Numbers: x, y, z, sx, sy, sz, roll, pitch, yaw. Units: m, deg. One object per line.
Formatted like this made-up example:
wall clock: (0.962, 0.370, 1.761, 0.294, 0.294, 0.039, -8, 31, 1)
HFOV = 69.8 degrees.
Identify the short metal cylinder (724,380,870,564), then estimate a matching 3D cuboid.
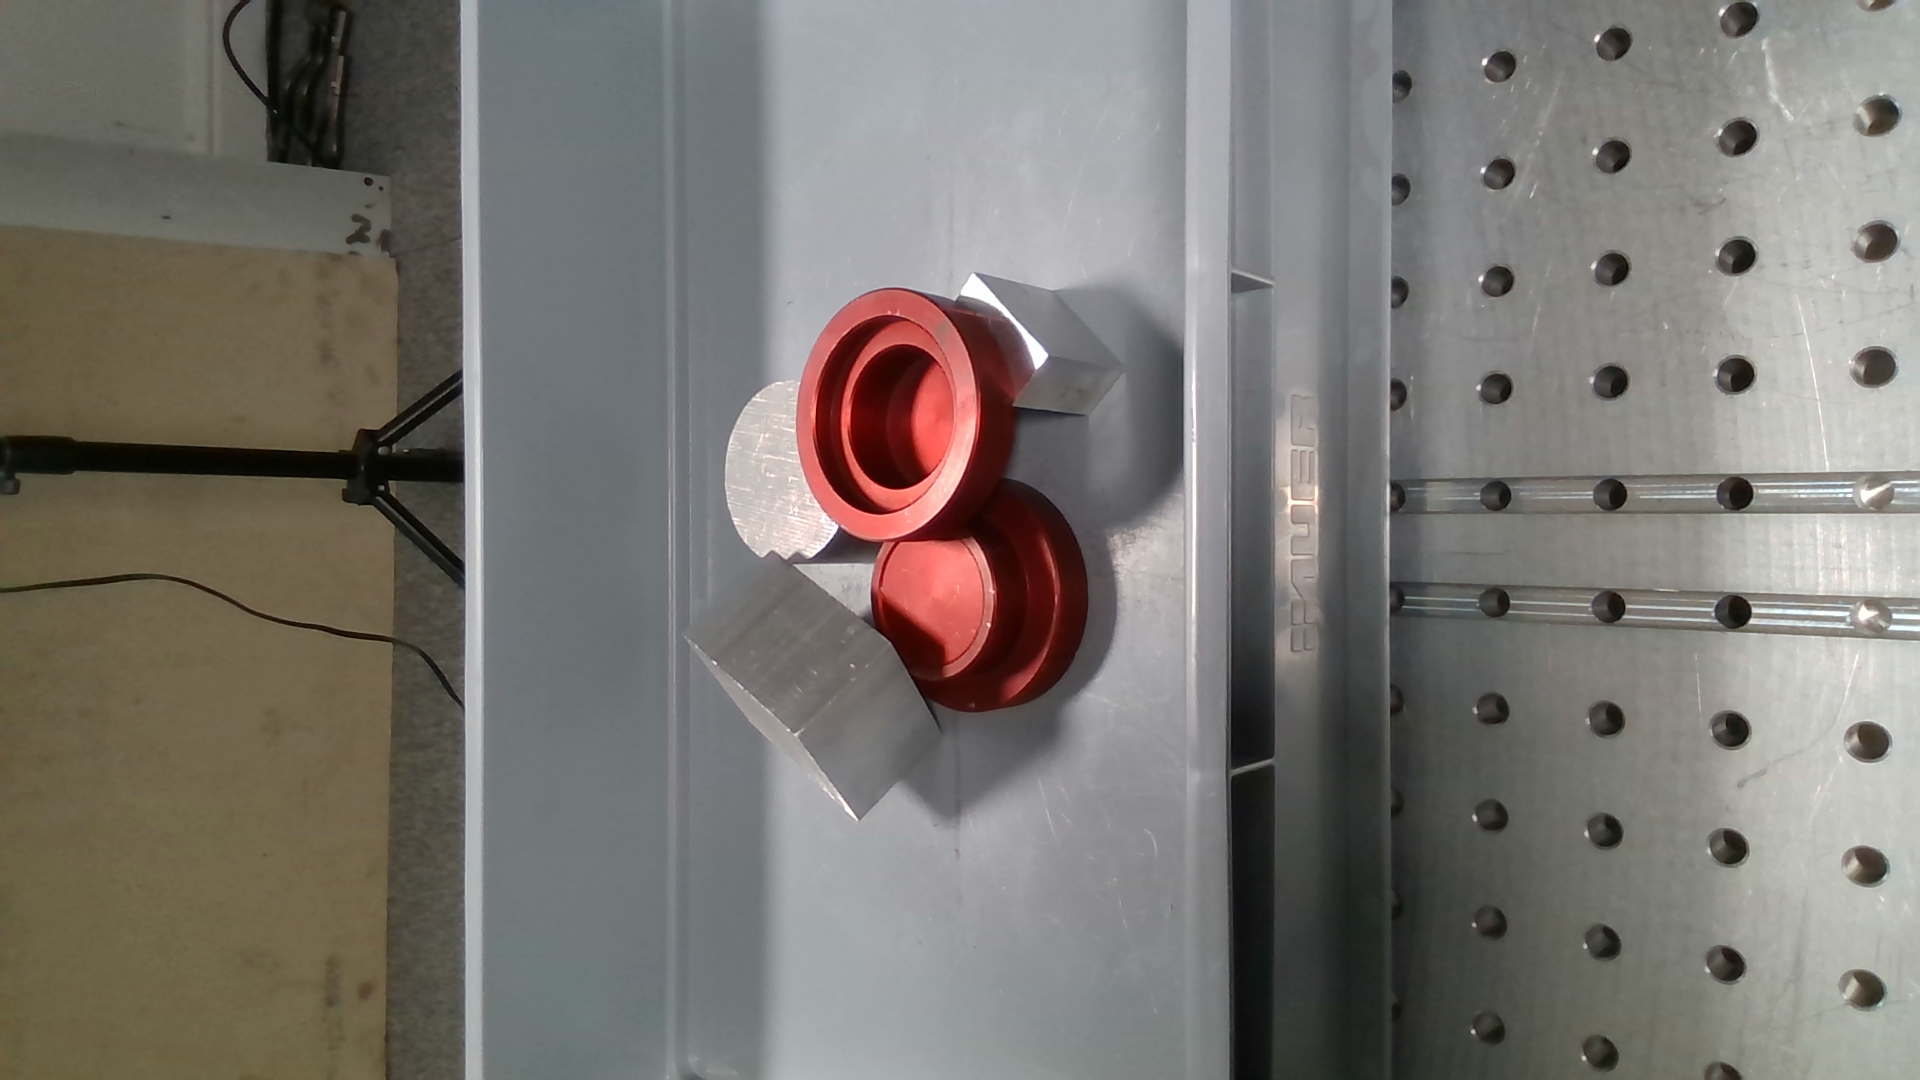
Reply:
short metal cylinder: (-0.060, -0.029, 0.614, 0.080, 0.050, 0.080, 0, 91, 40)

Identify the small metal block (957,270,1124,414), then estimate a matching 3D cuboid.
small metal block: (0.028, -0.077, 0.539, 0.050, 0.050, 0.025, 52, 121, 28)

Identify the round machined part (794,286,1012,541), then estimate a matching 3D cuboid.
round machined part: (-0.017, -0.049, 0.545, 0.098, 0.042, 0.098, 0, 91, 40)

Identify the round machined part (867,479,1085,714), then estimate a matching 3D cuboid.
round machined part: (0.000, 0.023, 0.567, 0.098, 0.042, 0.098, 0, 91, 40)

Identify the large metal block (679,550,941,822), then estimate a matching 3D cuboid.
large metal block: (-0.062, 0.063, 0.589, 0.050, 0.080, 0.080, -44, 55, -16)
